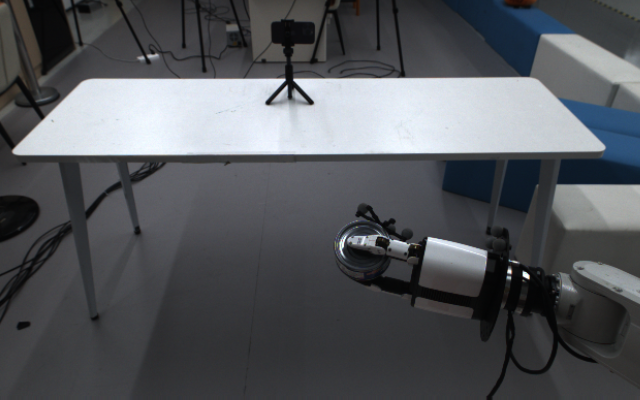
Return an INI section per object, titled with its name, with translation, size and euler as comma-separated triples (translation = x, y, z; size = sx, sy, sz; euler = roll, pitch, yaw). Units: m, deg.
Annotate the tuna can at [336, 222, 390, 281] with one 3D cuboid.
[tuna can]
translation = 0.067, 0.079, 0.712
size = 0.085, 0.034, 0.085
euler = -4, 57, 6
